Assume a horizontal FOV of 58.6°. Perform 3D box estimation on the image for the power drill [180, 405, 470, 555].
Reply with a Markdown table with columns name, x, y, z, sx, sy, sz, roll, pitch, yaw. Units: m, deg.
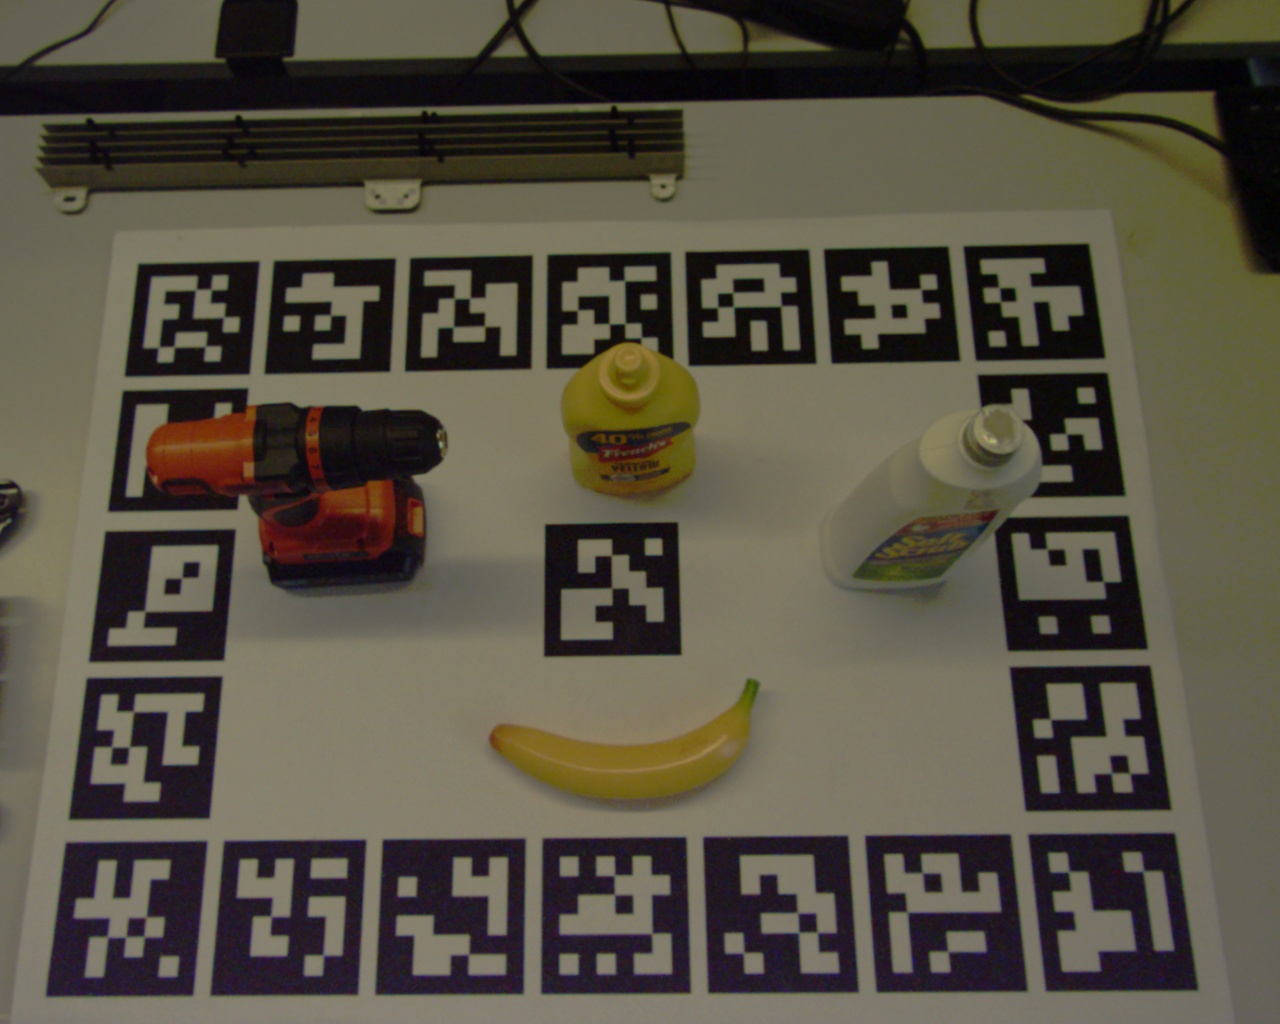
| name | x | y | z | sx | sy | sz | roll | pitch | yaw |
| --- | --- | --- | --- | --- | --- | --- | --- | --- | --- |
| power drill | -0.195 | -0.022 | 0.786 | 0.185 | 0.186 | 0.057 | -6 | 75 | 3 |

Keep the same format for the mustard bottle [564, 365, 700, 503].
| name | x | y | z | sx | sy | sz | roll | pitch | yaw |
| --- | --- | --- | --- | --- | --- | --- | --- | --- | --- |
| mustard bottle | -0.006 | -0.060 | 0.824 | 0.096 | 0.191 | 0.058 | -7 | 75 | -4 |

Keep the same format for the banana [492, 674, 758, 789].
| name | x | y | z | sx | sy | sz | roll | pitch | yaw |
| --- | --- | --- | --- | --- | --- | --- | --- | --- | --- |
| banana | -0.009 | 0.164 | 0.829 | 0.197 | 0.039 | 0.074 | -6 | 76 | 3 |

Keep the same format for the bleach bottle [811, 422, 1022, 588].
| name | x | y | z | sx | sy | sz | roll | pitch | yaw |
| --- | --- | --- | --- | --- | --- | --- | --- | --- | --- |
| bleach bottle | 0.186 | -0.007 | 0.772 | 0.103 | 0.250 | 0.068 | 8 | 75 | 2 |
